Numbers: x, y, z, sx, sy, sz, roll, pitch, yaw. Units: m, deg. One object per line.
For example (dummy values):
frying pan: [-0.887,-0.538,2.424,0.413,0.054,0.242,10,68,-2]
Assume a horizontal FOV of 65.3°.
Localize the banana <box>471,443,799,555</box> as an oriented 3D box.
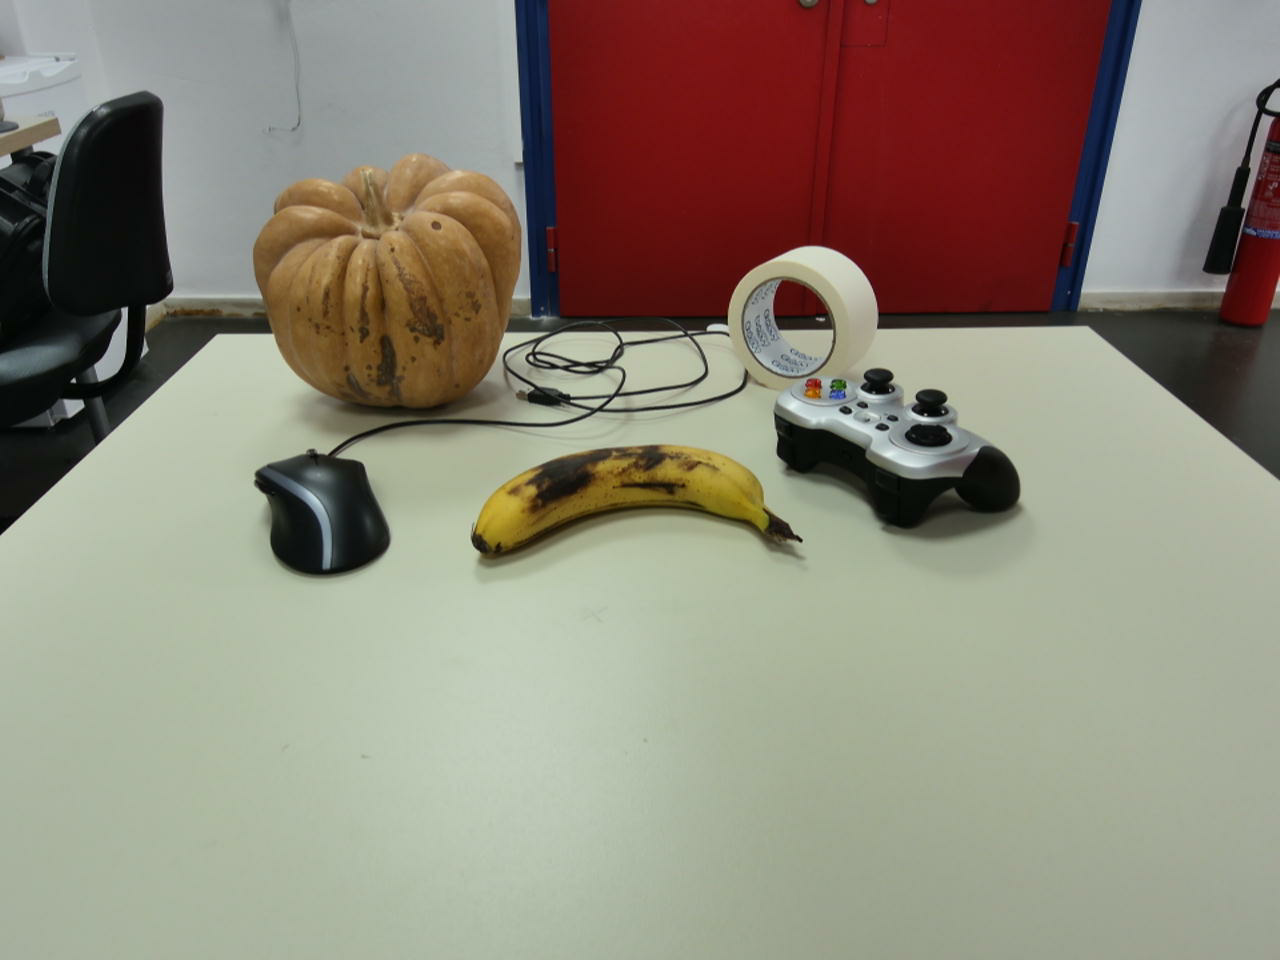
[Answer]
banana: [-0.005,0.010,0.607,0.187,0.039,0.094,-1,26,-2]
